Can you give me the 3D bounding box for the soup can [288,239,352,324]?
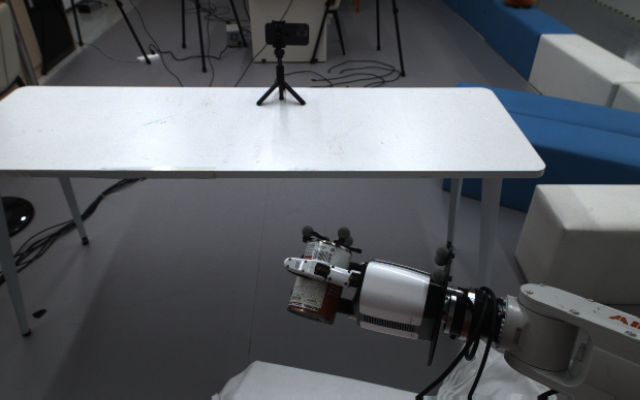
[{"bbox_3d":[0.002,0.113,0.671,0.067,0.067,0.101,12,70,14],"label":"soup can"}]
